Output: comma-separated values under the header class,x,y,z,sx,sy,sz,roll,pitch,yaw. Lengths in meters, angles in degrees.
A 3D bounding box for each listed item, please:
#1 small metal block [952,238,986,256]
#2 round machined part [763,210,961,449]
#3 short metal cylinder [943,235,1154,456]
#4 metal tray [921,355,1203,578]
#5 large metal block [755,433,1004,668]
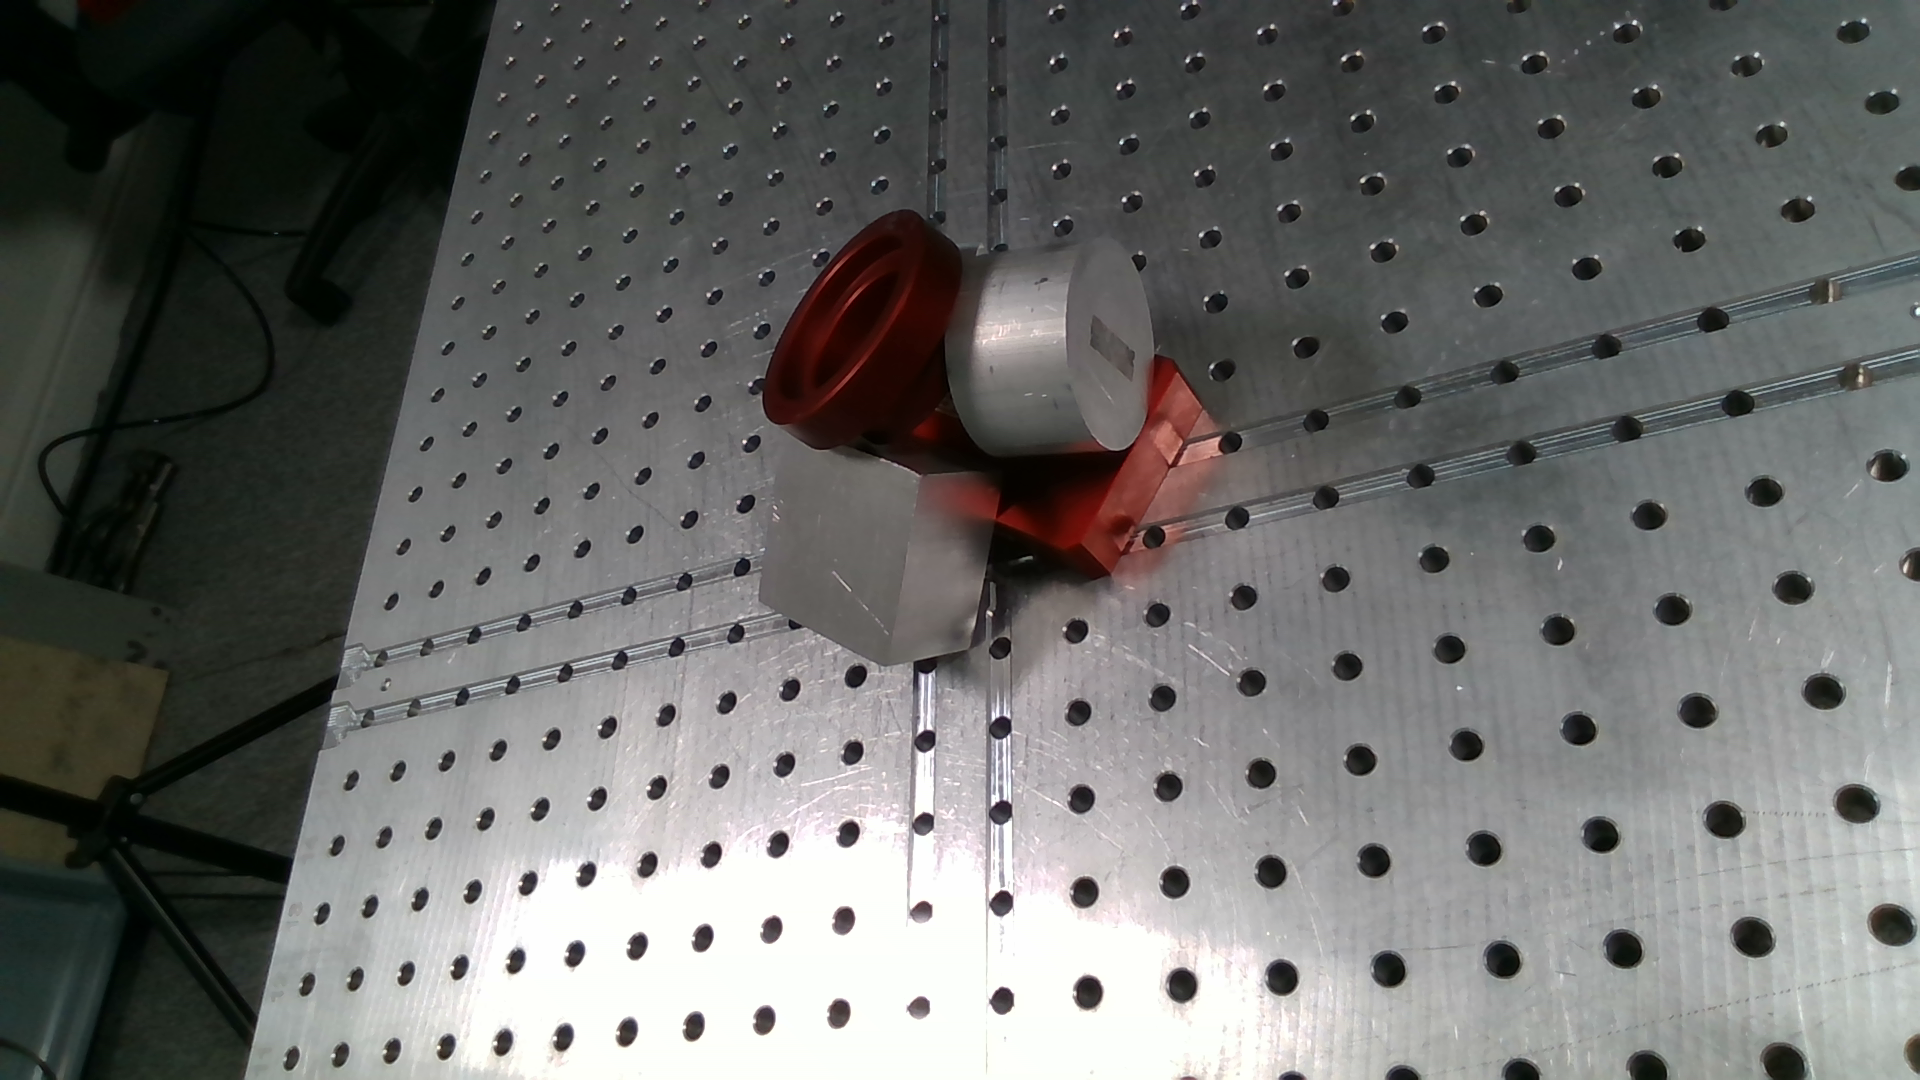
class,x,y,z,sx,sy,sz,roll,pitch,yaw
small metal block,-0.005,-0.103,0.589,0.050,0.050,0.025,5,68,33
round machined part,-0.032,-0.078,0.542,0.098,0.042,0.098,-37,34,32
short metal cylinder,0.036,-0.074,0.531,0.050,0.080,0.080,-1,65,31
metal tray,0.027,-0.047,0.594,0.130,0.030,0.090,23,79,38
large metal block,-0.035,-0.002,0.572,0.080,0.050,0.080,23,110,38
